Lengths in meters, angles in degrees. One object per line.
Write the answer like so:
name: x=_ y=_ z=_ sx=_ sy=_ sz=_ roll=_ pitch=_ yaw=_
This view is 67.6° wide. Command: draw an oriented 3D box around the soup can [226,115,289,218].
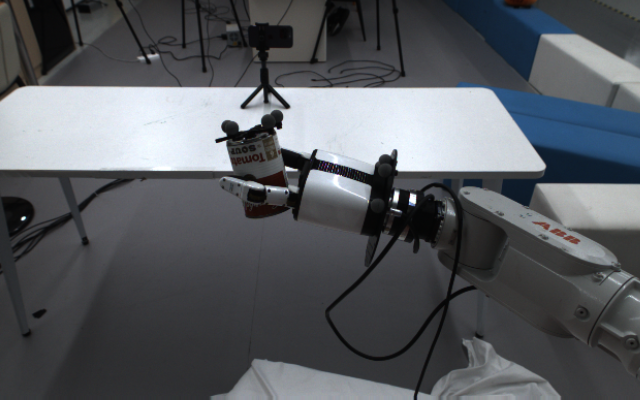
soup can: x=-0.077 y=-0.034 z=0.635 sx=0.067 sy=0.101 sz=0.067 roll=-12 pitch=17 yaw=4
